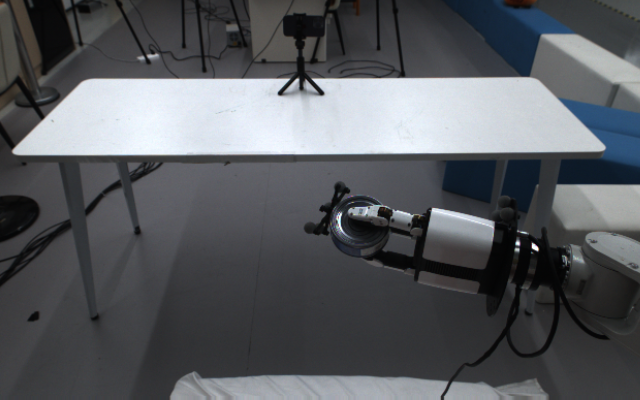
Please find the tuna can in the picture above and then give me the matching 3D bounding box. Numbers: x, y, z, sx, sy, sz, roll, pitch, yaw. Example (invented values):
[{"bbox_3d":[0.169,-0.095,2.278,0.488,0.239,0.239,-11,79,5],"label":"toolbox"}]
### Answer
[{"bbox_3d":[0.059,0.036,0.686,0.085,0.034,0.085,0,61,1],"label":"tuna can"}]
